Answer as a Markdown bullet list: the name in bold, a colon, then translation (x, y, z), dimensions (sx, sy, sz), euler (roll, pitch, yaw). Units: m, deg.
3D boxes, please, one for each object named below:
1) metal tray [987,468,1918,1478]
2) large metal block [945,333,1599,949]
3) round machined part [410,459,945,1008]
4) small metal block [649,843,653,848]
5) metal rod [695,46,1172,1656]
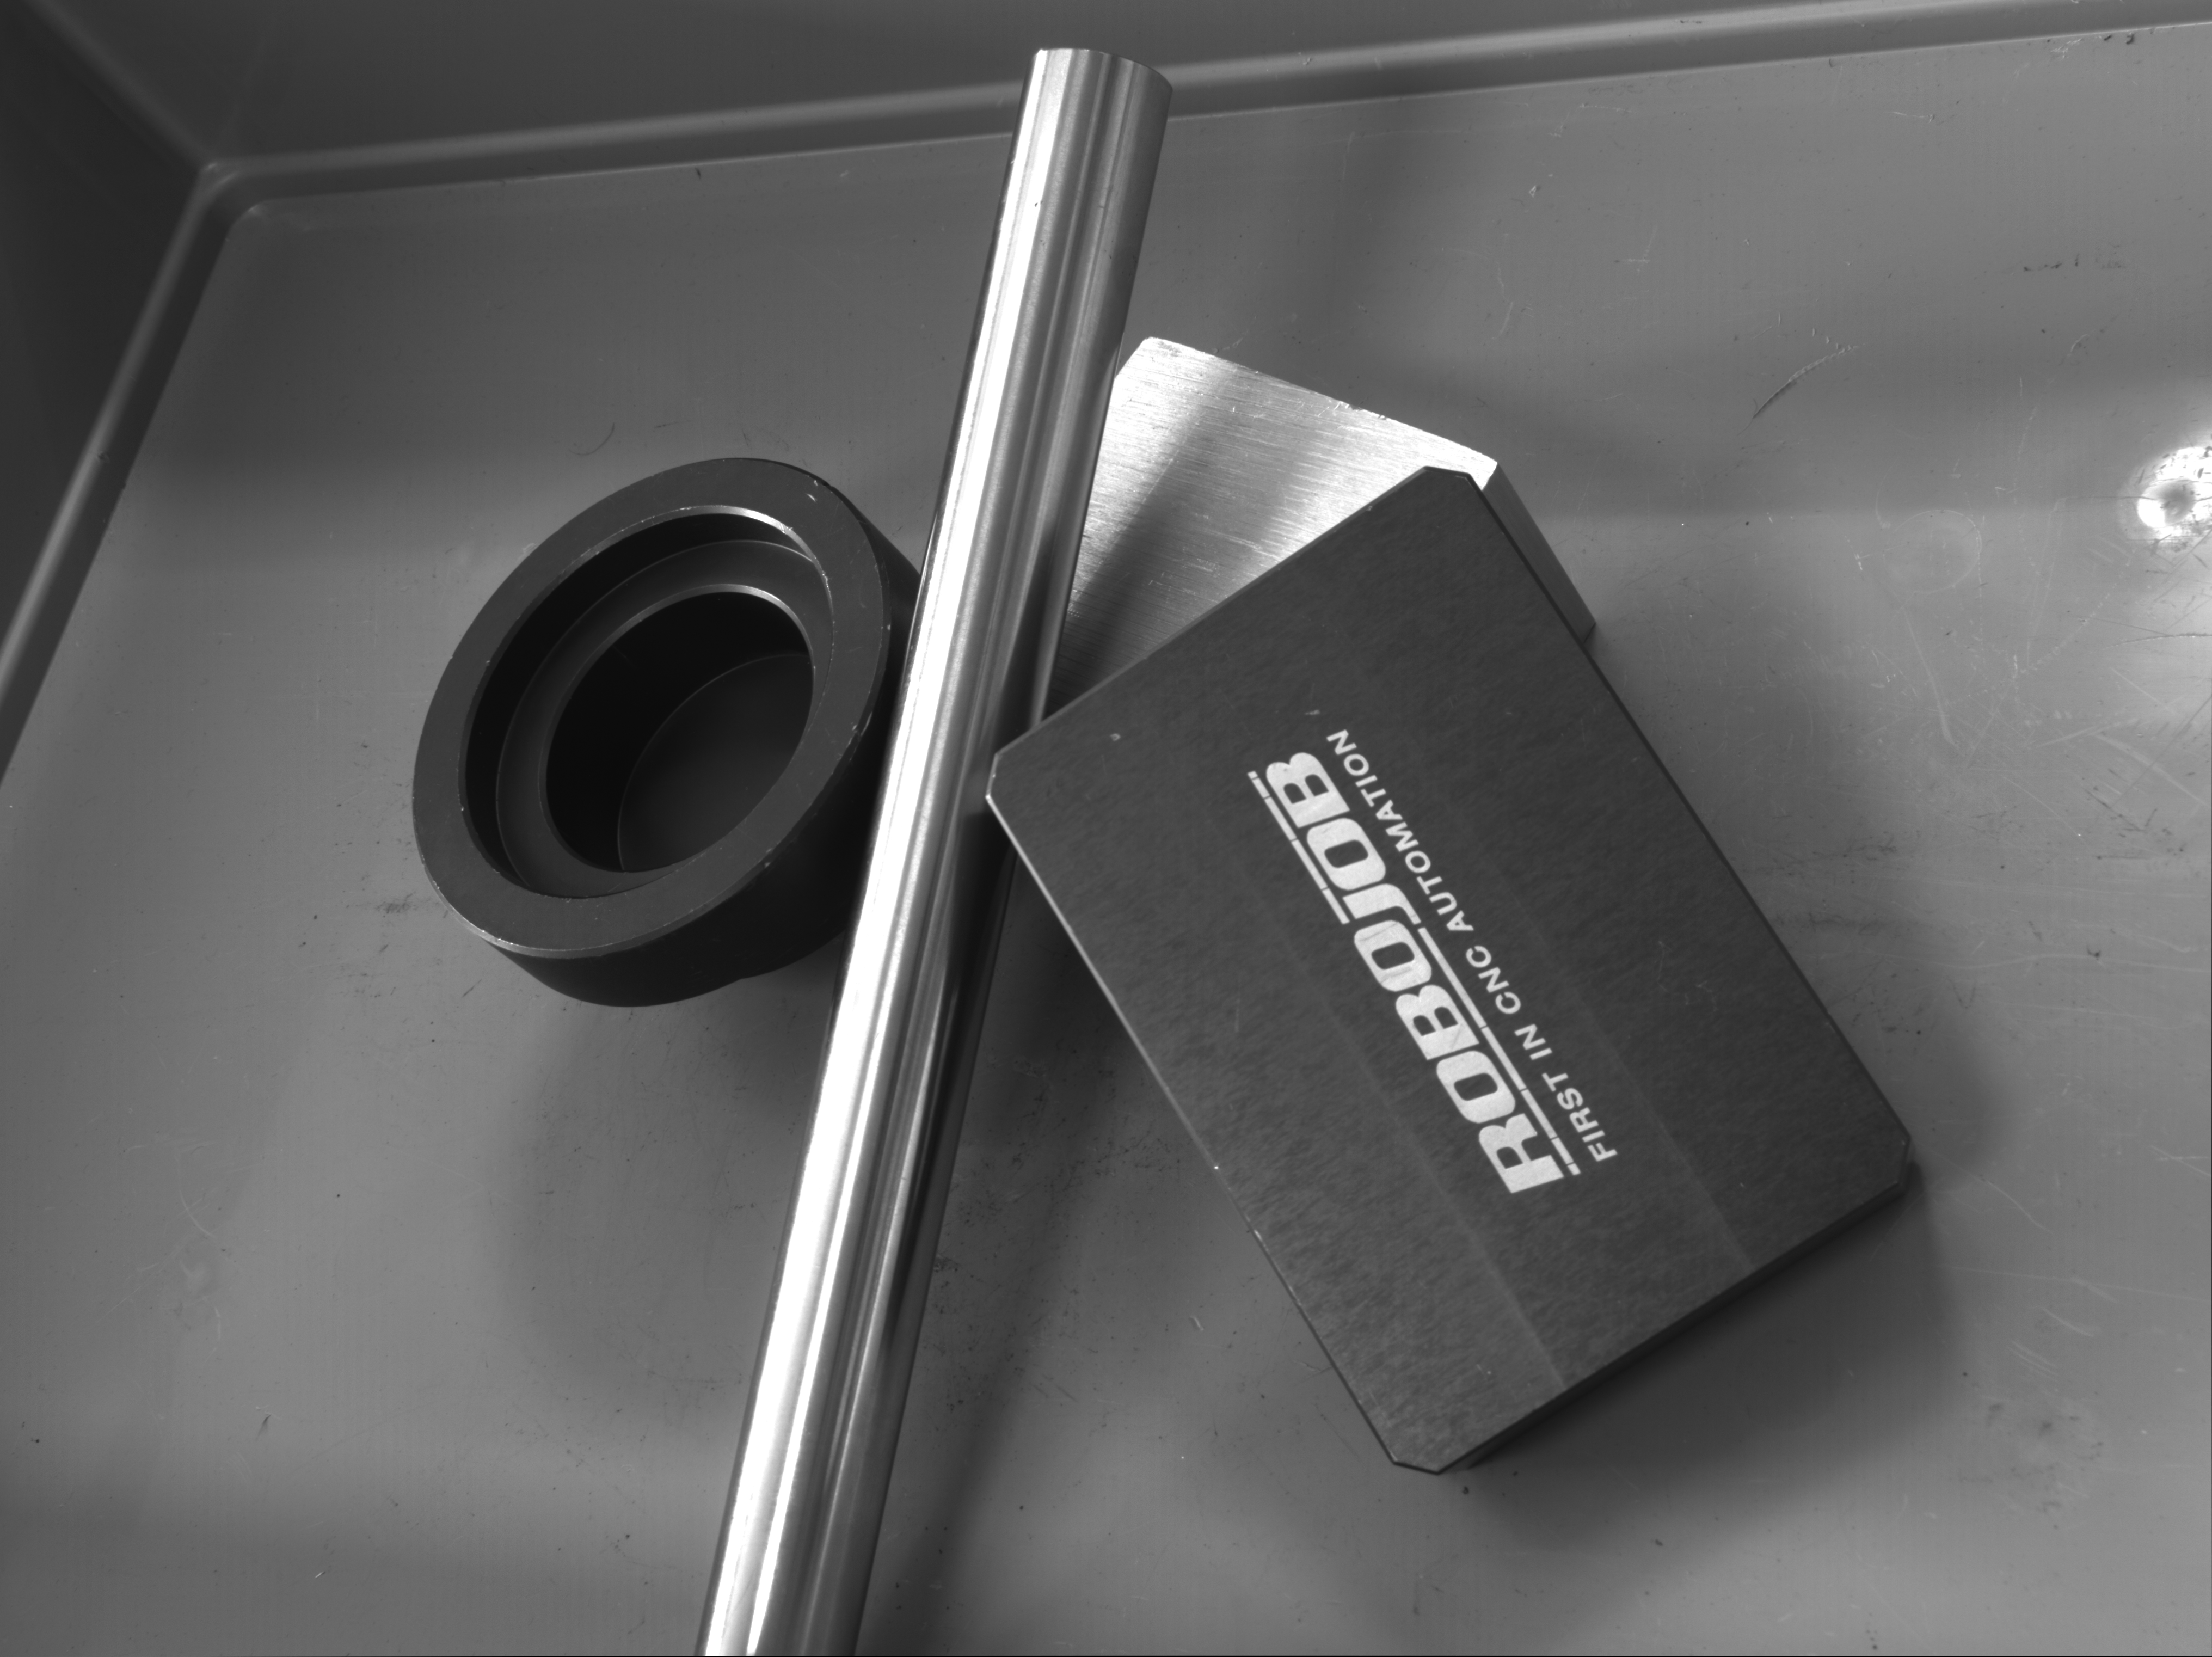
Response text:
- **metal tray**: translation (0.053, 0.022, 0.566), dimensions (0.090, 0.030, 0.130), euler (-34, 76, 7)
- **large metal block**: translation (0.024, -0.029, 0.634), dimensions (0.080, 0.050, 0.080), euler (25, 75, 37)
- **round machined part**: translation (-0.070, -0.012, 0.643), dimensions (0.098, 0.042, 0.098), euler (-15, 55, 23)
- **small metal block**: translation (-0.064, -0.008, 0.685), dimensions (0.050, 0.025, 0.050), euler (-20, 54, 16)
- **metal rod**: translation (-0.030, 0.019, 0.597), dimensions (0.025, 0.025, 0.300), euler (6, 80, 31)
